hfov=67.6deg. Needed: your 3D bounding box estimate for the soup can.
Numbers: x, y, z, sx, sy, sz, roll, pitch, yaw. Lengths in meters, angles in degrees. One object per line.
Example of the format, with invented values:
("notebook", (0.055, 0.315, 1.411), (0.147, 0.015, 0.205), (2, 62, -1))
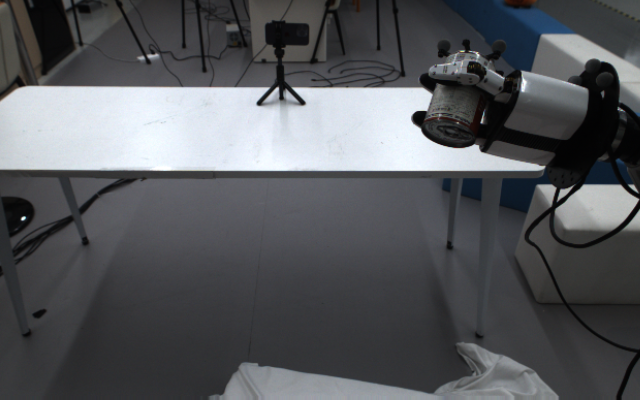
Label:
("soup can", (0.175, -0.128, 0.610), (0.067, 0.067, 0.101), (15, 75, 18))
